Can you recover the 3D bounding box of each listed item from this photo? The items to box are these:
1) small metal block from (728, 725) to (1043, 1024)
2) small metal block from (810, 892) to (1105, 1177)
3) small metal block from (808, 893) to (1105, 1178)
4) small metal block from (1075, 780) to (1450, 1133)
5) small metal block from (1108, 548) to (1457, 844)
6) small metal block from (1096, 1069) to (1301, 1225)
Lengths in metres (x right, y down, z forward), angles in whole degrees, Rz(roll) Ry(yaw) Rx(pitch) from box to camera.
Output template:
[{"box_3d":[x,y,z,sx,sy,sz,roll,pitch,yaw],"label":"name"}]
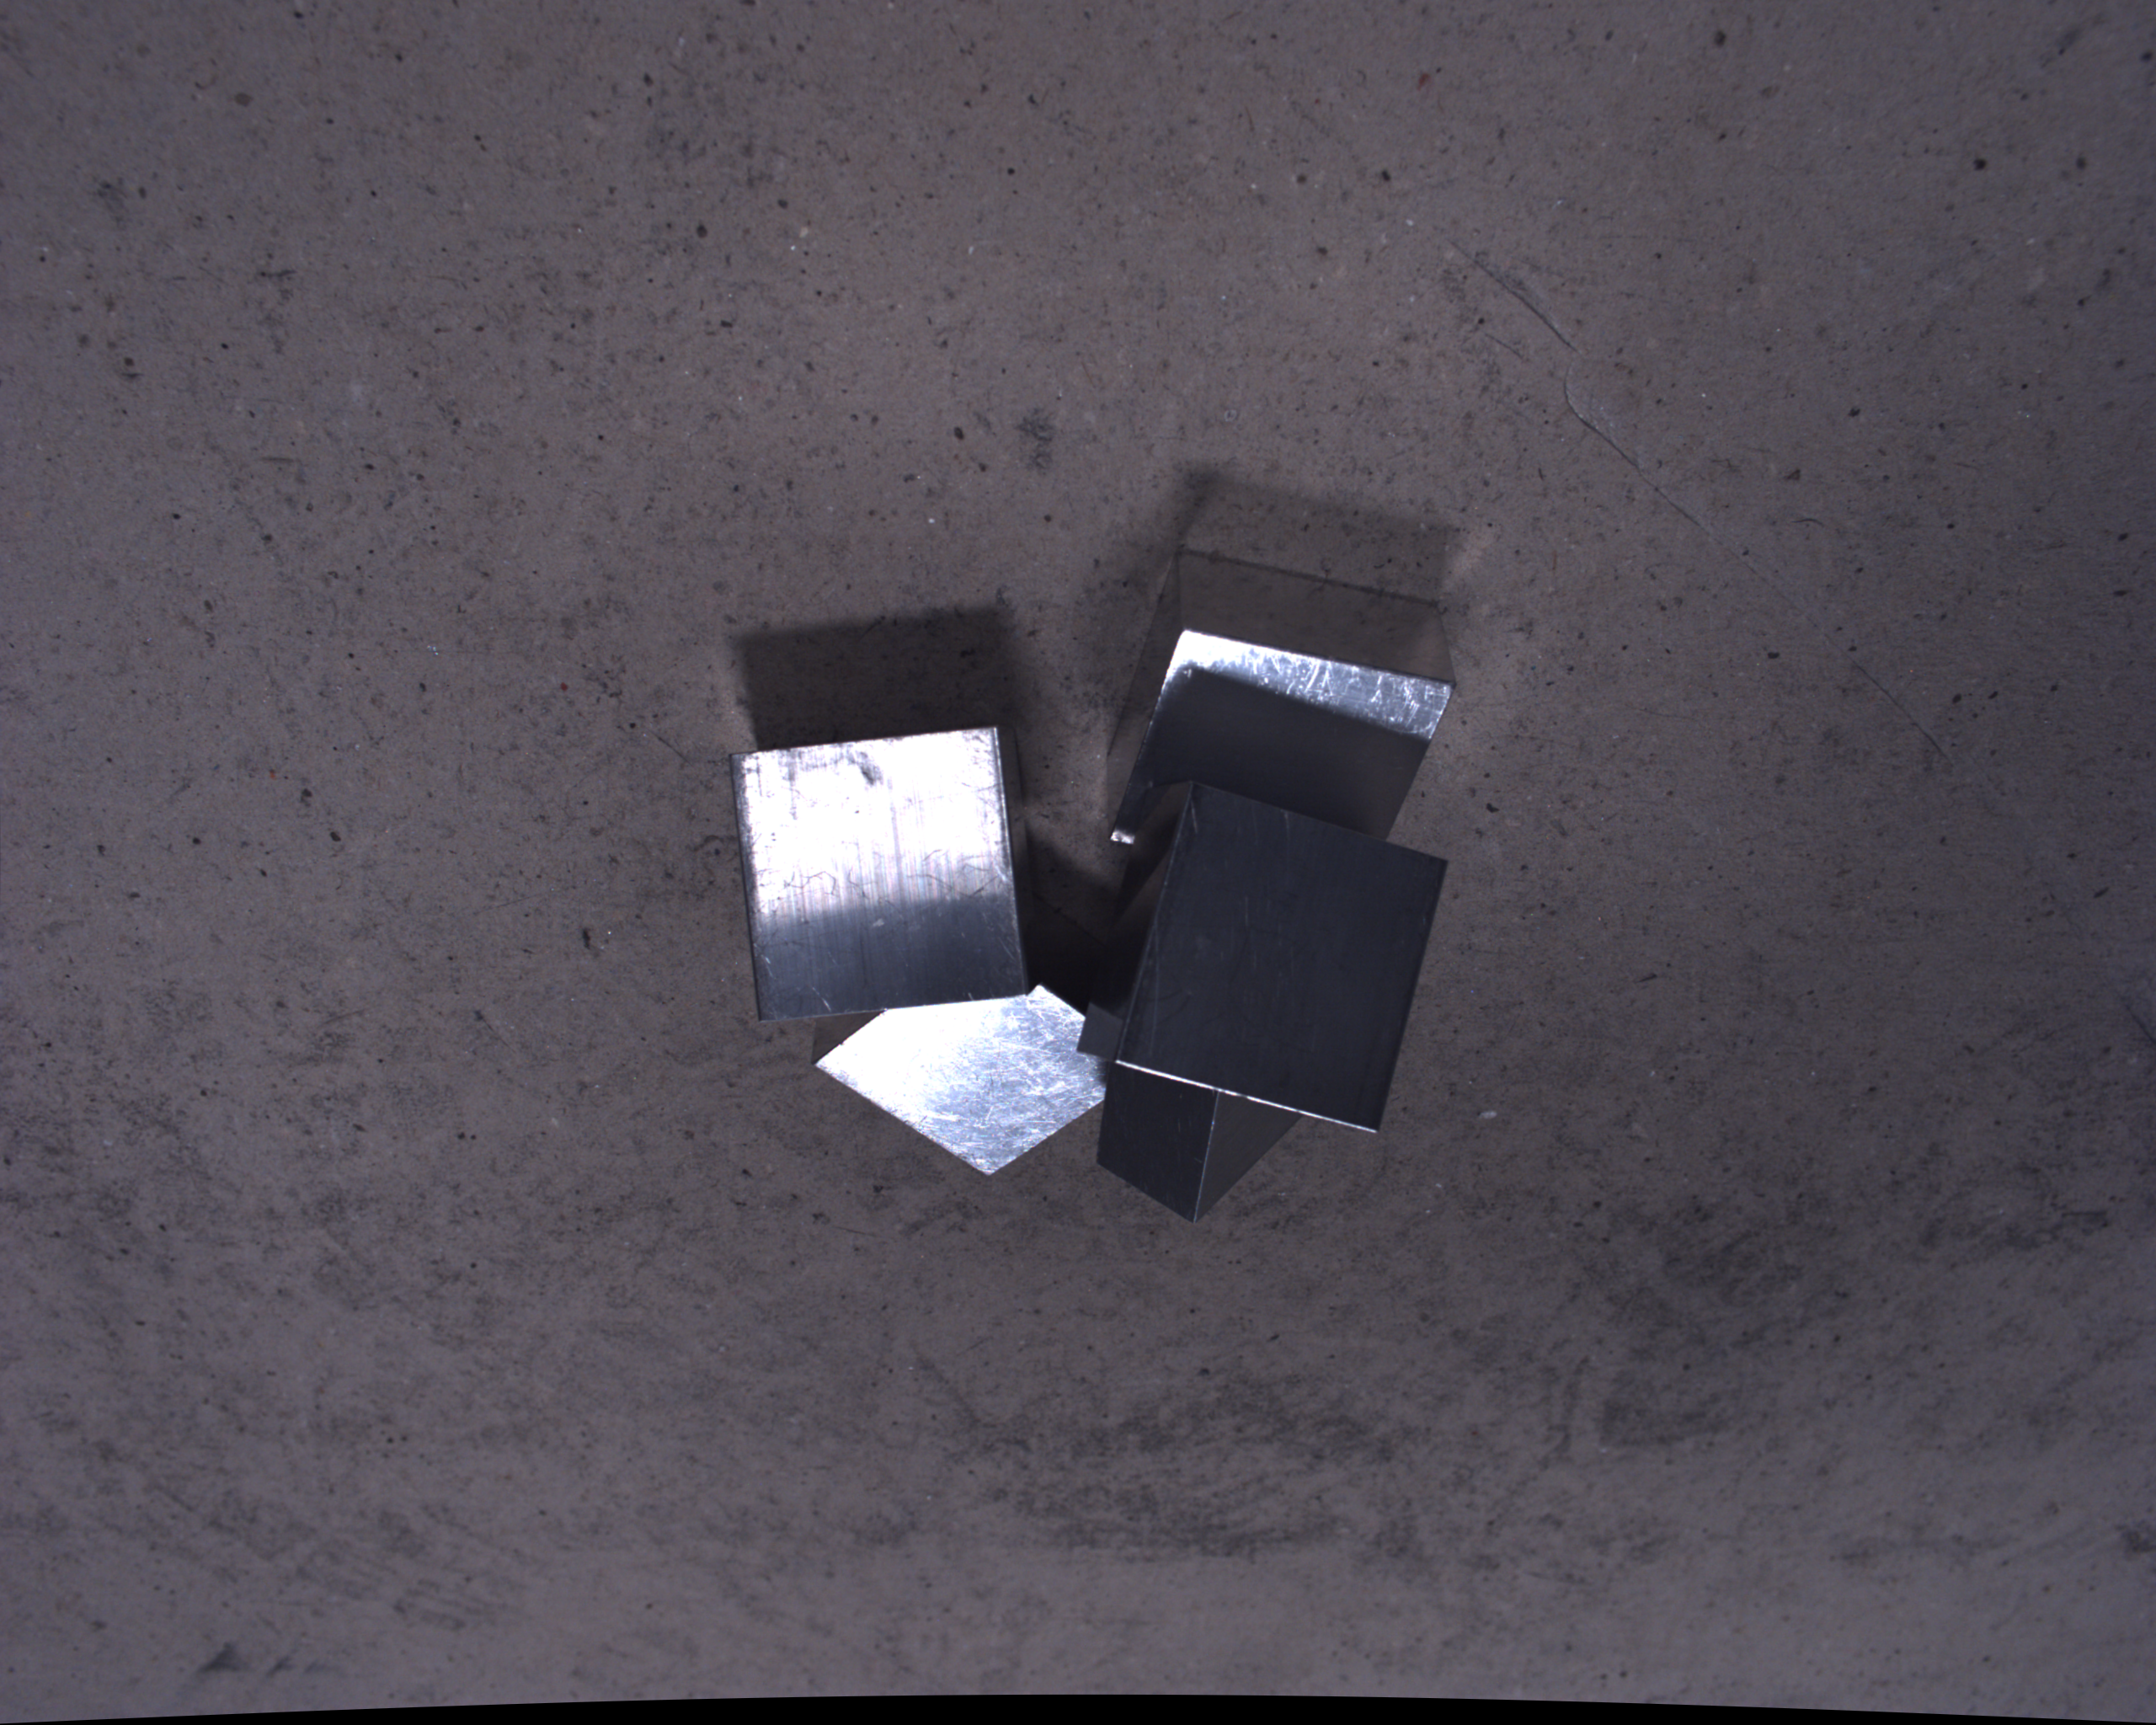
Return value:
[{"box_3d":[-0.035,0.002,0.393,0.050,0.025,0.050,-6,92,4],"label":"small metal block"},{"box_3d":[-0.019,0.033,0.437,0.050,0.025,0.050,-37,122,27],"label":"small metal block"},{"box_3d":[-0.020,0.033,0.437,0.050,0.025,0.050,-37,121,27],"label":"small metal block"},{"box_3d":[0.033,0.017,0.373,0.050,0.025,0.050,17,85,-14],"label":"small metal block"},{"box_3d":[0.036,-0.026,0.388,0.050,0.025,0.050,11,129,-10],"label":"small metal block"},{"box_3d":[0.031,0.036,0.421,0.025,0.050,0.050,30,135,25],"label":"small metal block"}]
